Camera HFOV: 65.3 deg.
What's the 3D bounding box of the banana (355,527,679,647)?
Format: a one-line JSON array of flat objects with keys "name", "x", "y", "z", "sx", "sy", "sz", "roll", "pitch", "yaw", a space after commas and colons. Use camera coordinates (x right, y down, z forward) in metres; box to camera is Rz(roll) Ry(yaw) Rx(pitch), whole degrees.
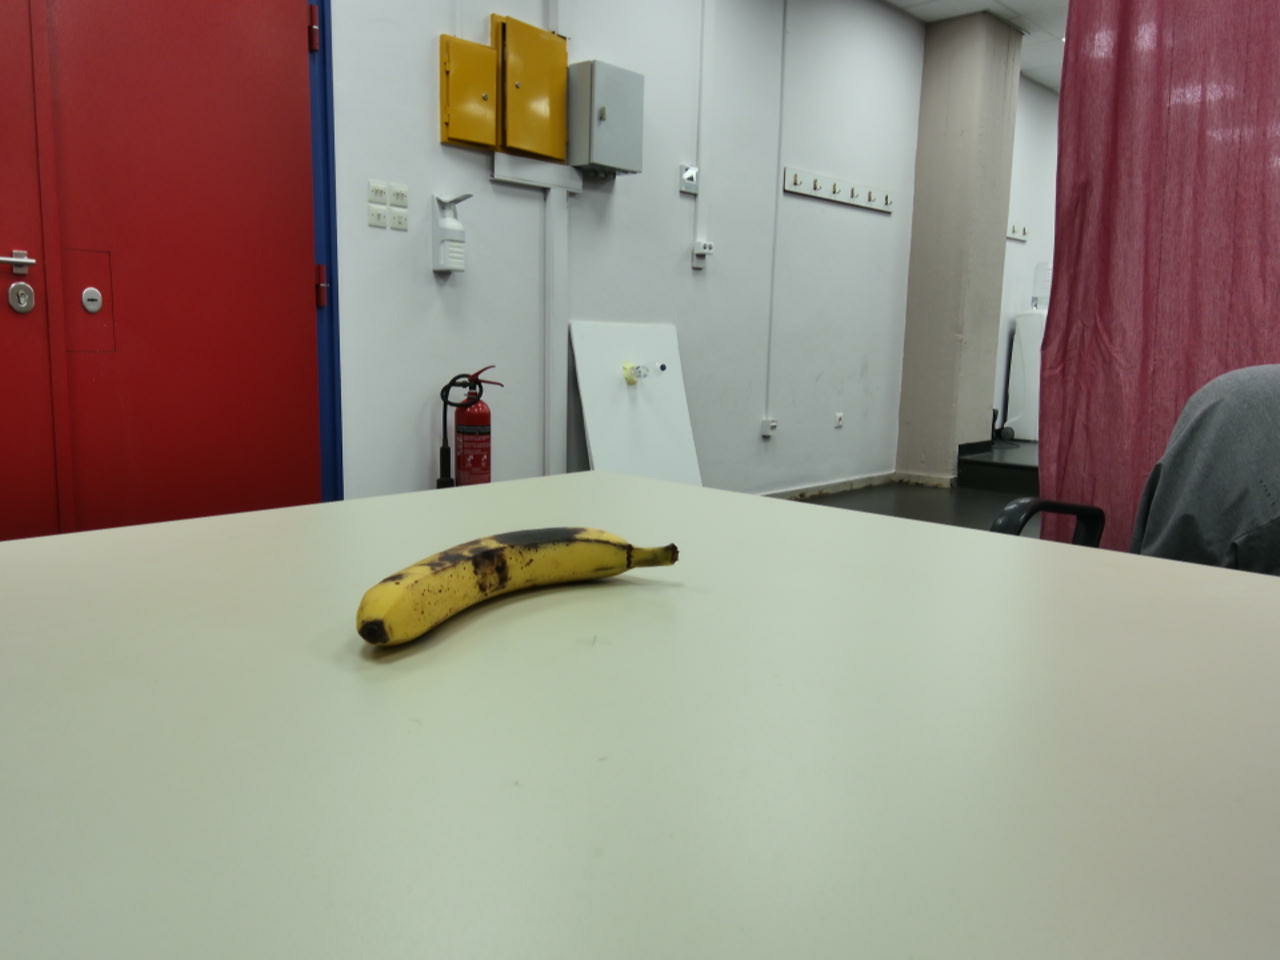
[{"name": "banana", "x": -0.081, "y": 0.055, "z": 0.576, "sx": 0.084, "sy": 0.037, "sz": 0.222, "roll": 6, "pitch": 9, "yaw": 42}]
